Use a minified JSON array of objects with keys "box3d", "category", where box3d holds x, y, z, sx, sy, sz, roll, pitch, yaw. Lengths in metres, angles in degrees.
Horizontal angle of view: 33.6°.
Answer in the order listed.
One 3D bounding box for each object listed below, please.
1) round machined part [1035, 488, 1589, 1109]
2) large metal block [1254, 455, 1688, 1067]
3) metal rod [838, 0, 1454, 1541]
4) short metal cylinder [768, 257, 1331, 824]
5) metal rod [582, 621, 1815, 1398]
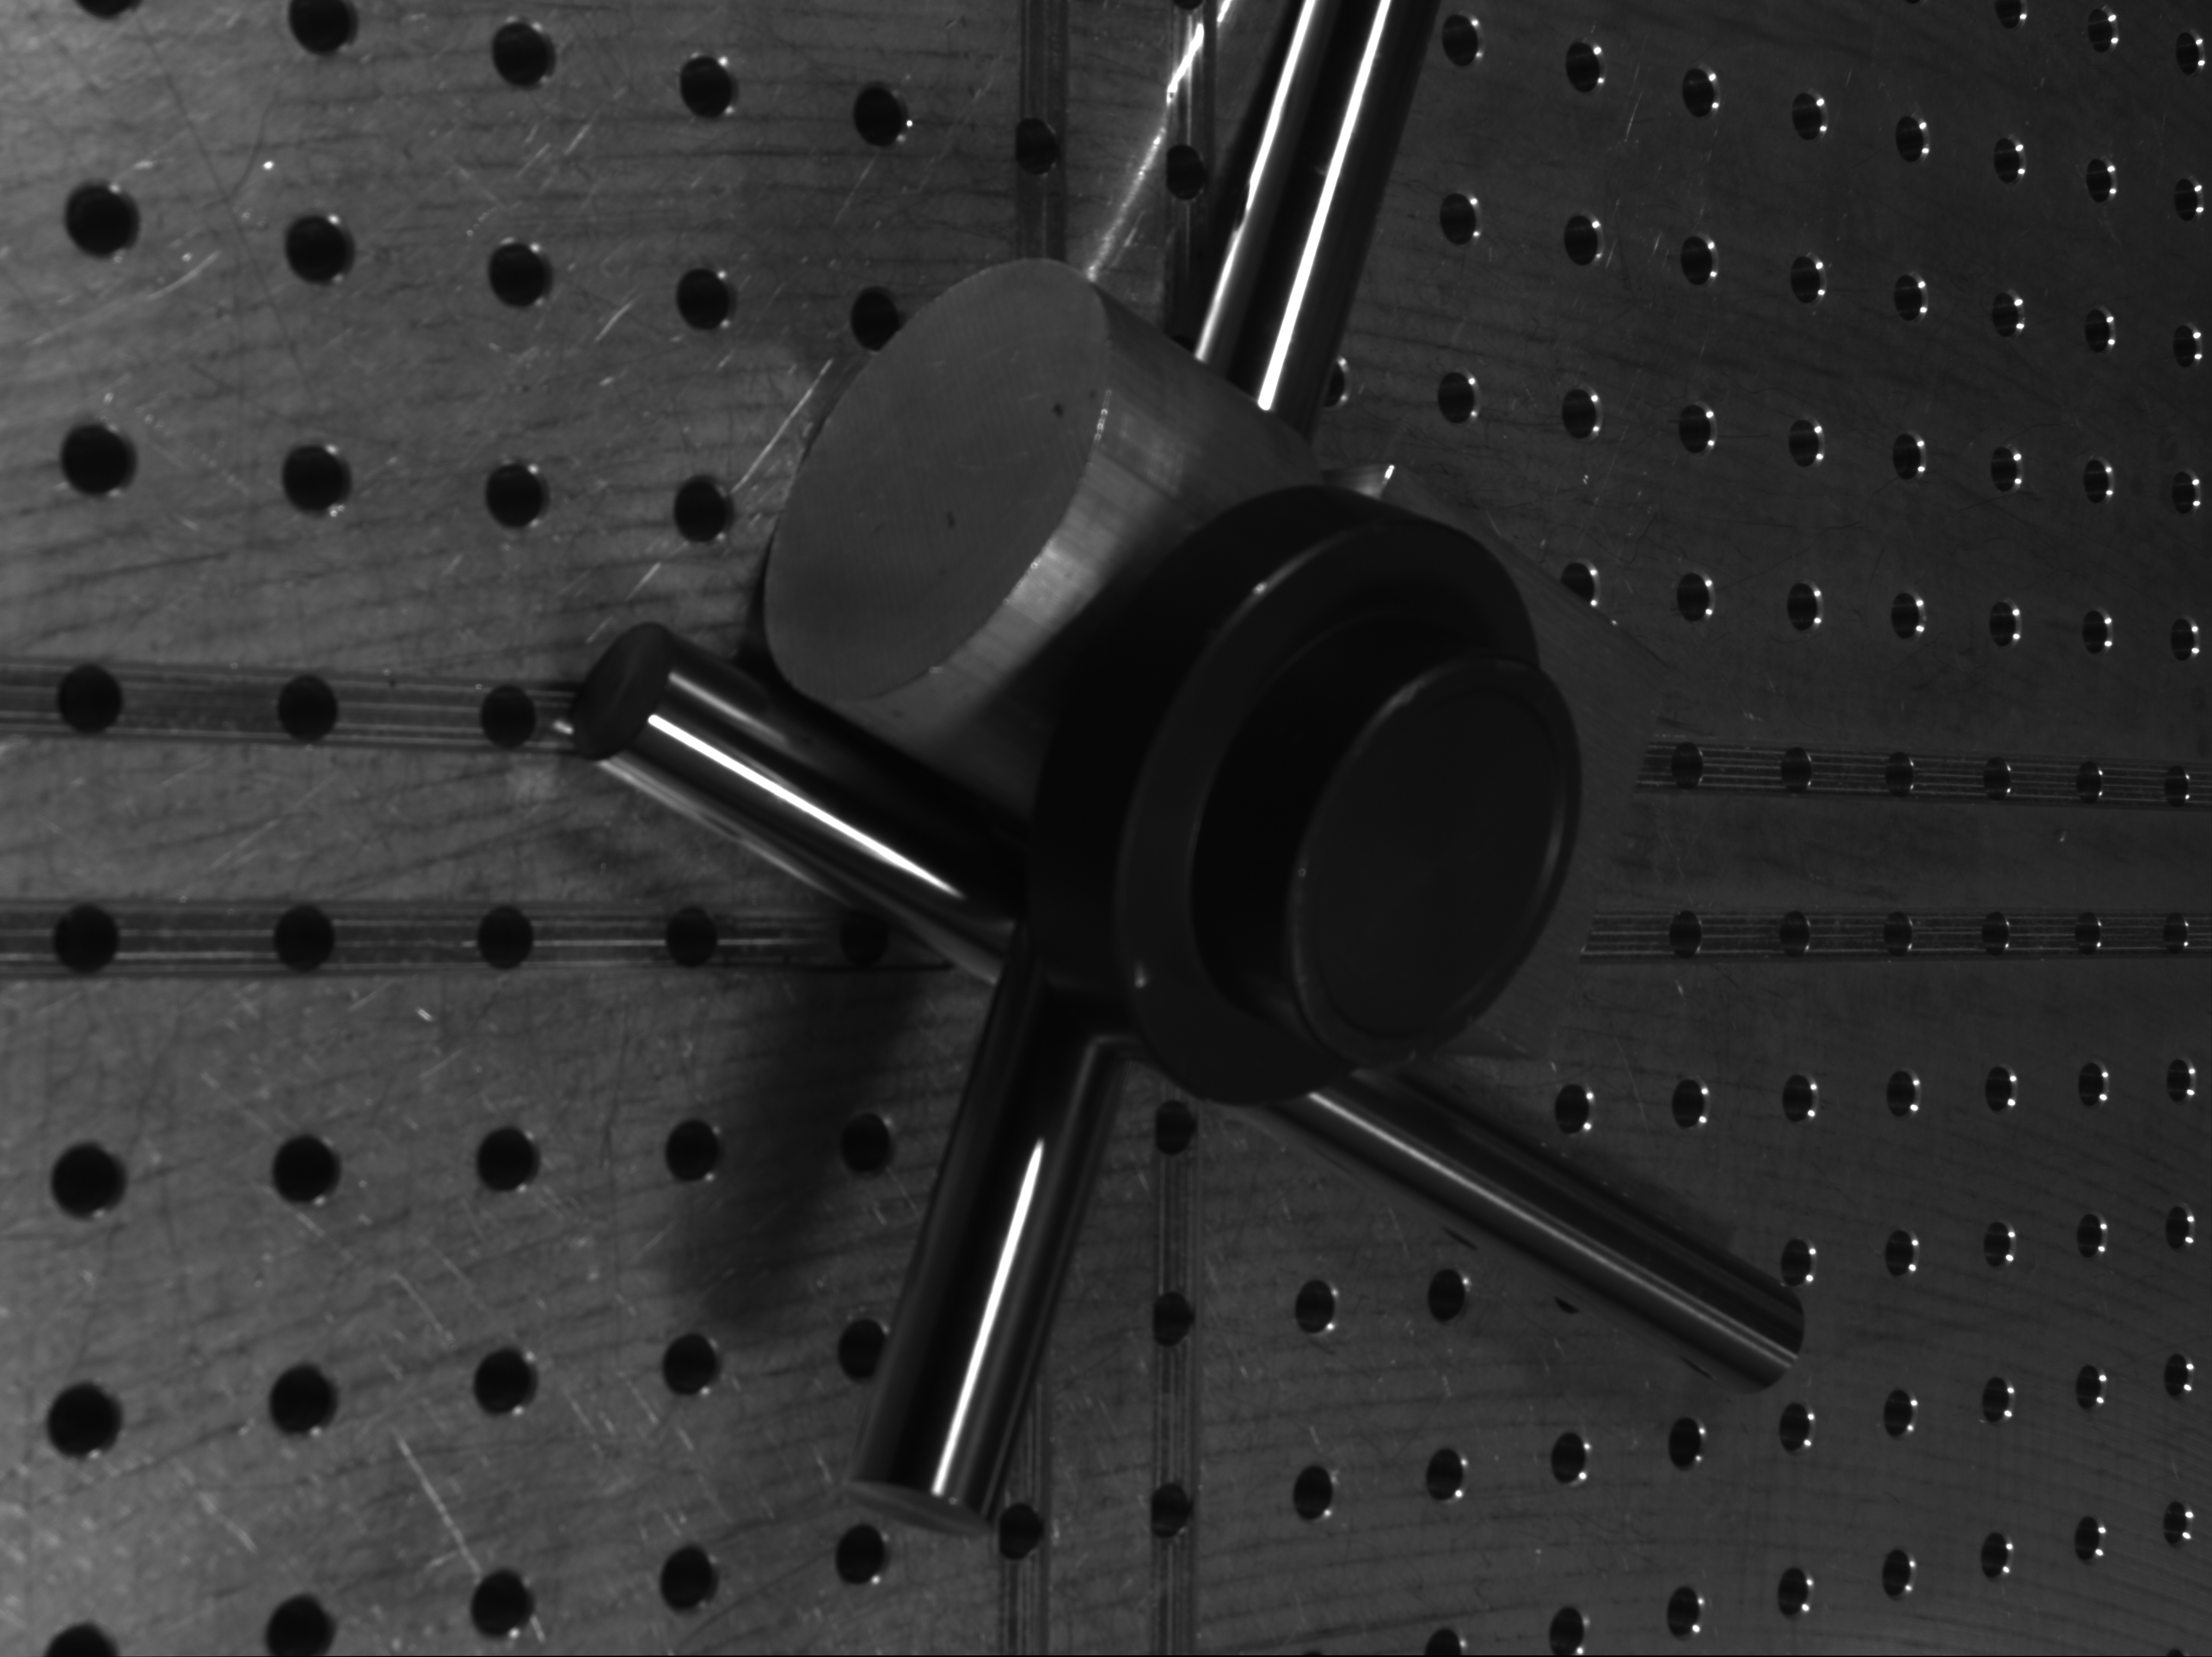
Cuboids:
[{"box3d":[0.038,-0.001,0.576,0.098,0.042,0.098,-24,126,-37],"category":"round machined part"},{"box3d":[0.050,-0.011,0.662,0.080,0.050,0.080,32,70,-35],"category":"large metal block"},{"box3d":[0.012,-0.026,0.625,0.025,0.025,0.300,35,61,-34],"category":"metal rod"},{"box3d":[-0.010,-0.045,0.596,0.050,0.080,0.080,31,71,-35],"category":"short metal cylinder"},{"box3d":[0.030,0.042,0.665,0.301,0.025,0.025,31,71,-35],"category":"metal rod"}]
